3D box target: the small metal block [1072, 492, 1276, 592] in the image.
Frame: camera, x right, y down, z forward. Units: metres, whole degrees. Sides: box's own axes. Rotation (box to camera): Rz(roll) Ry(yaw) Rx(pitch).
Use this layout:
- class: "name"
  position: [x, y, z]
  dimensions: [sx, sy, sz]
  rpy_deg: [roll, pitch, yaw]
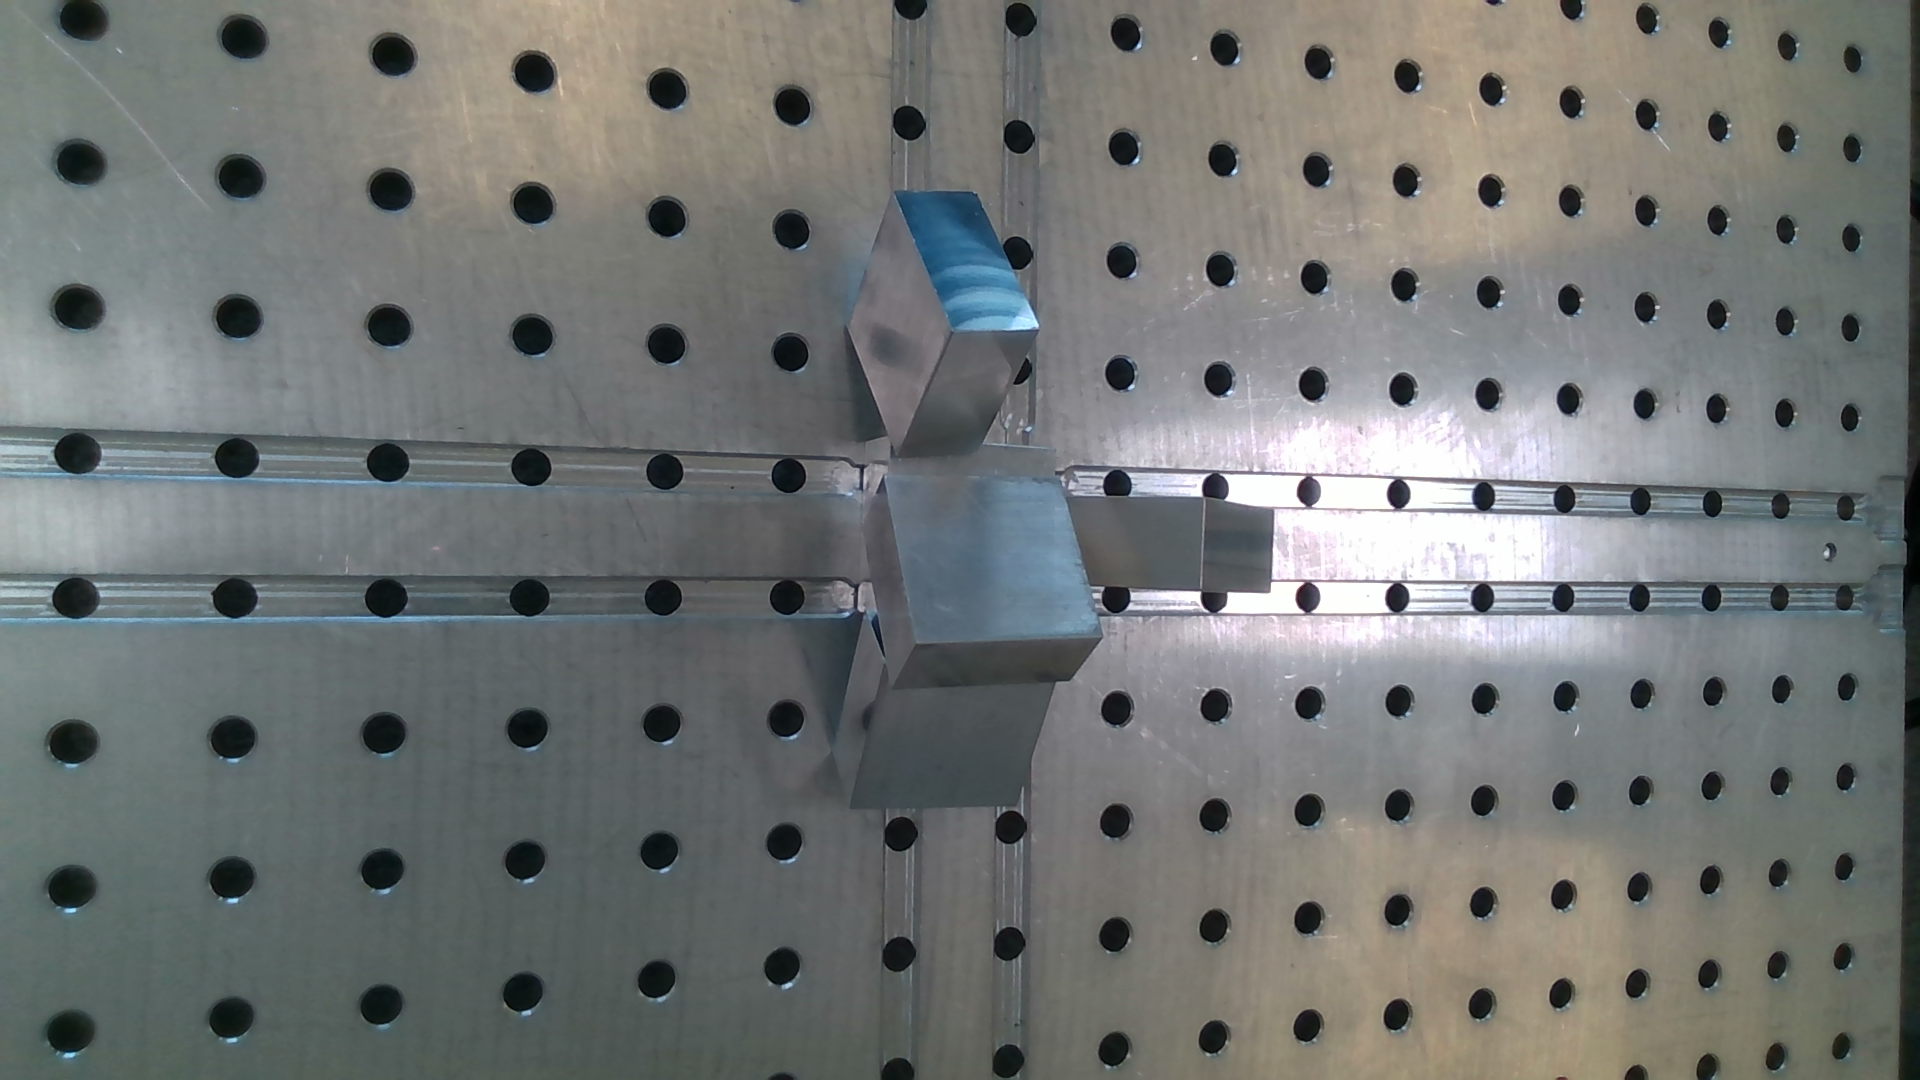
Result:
- class: "small metal block"
  position: [0.057, 0.001, 0.393]
  dimensions: [0.050, 0.050, 0.025]
  rpy_deg: [5, 87, -56]

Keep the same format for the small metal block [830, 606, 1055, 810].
- class: "small metal block"
  position: [-0.005, 0.047, 0.383]
  dimensions: [0.050, 0.025, 0.050]
  rpy_deg: [3, 120, -20]

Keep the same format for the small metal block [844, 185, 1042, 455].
- class: "small metal block"
  position: [-0.006, -0.059, 0.370]
  dimensions: [0.025, 0.050, 0.050]
  rpy_deg: [-6, 57, -26]

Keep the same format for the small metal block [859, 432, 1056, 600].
- class: "small metal block"
  position: [-0.001, -0.004, 0.396]
  dimensions: [0.050, 0.025, 0.050]
  rpy_deg: [2, 89, -20]

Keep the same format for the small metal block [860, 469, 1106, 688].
- class: "small metal block"
  position: [0.005, 0.009, 0.359]
  dimensions: [0.050, 0.025, 0.050]
  rpy_deg: [-1, 57, -20]
